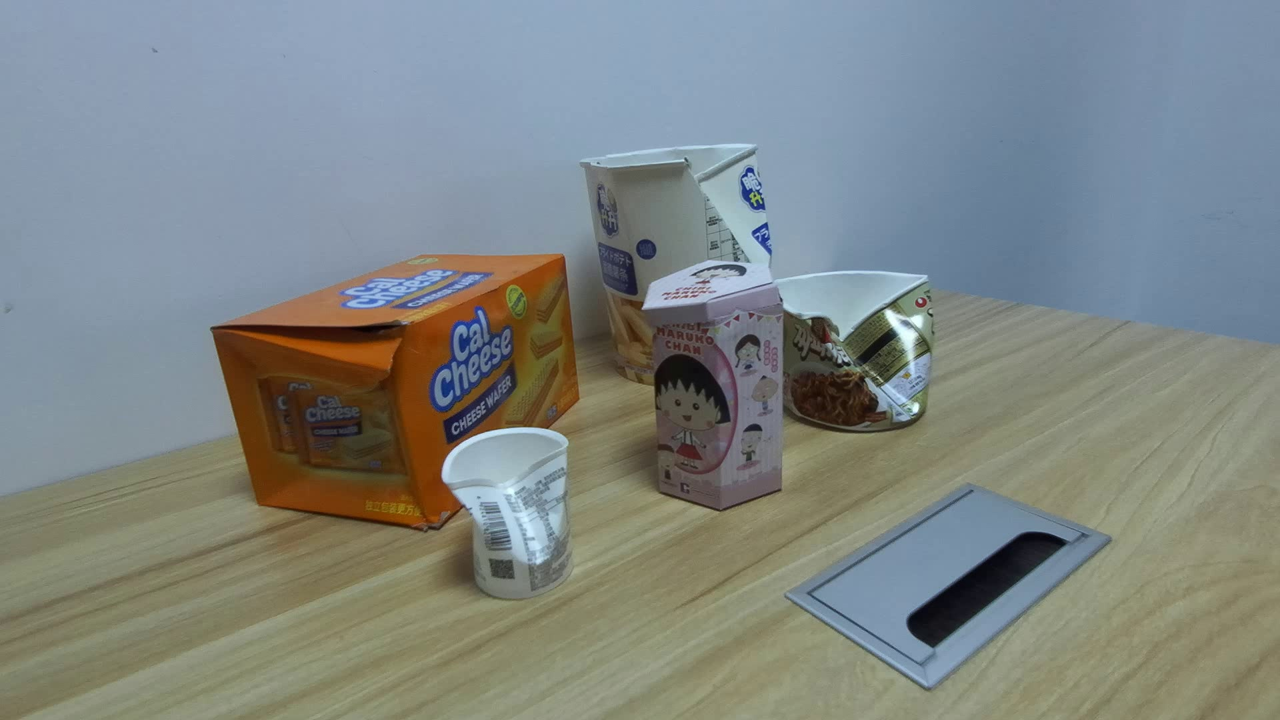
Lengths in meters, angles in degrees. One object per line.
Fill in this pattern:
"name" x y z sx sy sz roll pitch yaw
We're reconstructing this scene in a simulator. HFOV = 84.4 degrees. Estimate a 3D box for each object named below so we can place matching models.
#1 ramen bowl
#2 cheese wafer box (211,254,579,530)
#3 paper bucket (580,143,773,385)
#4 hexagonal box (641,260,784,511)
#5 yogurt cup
"ramen bowl" 0.163 -0.012 0.554 0.137 0.098 0.137 -2 18 1
"cheese wafer box" -0.158 0.004 0.522 0.149 0.137 0.227 3 20 19
"paper bucket" 0.043 -0.088 0.645 0.169 0.202 0.162 -7 22 2
"hexagonal box" 0.049 0.013 0.445 0.091 0.135 0.085 11 25 35
"yogurt cup" -0.067 0.081 0.377 0.067 0.070 0.067 -6 21 3
